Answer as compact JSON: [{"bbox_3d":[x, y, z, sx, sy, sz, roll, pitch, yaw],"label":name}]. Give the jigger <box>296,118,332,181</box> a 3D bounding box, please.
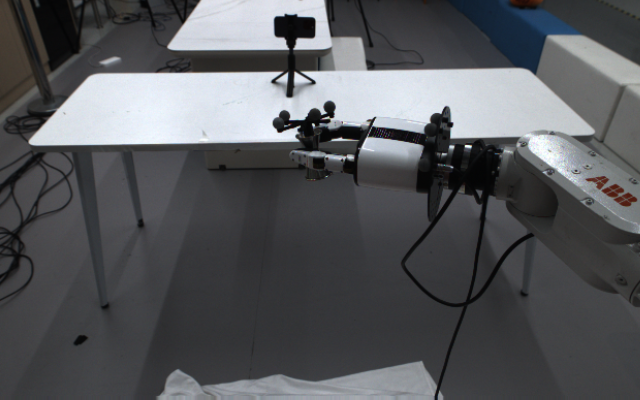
[{"bbox_3d":[-0.009,-0.068,0.725,0.043,0.071,0.043,-11,24,5],"label":"jigger"}]
